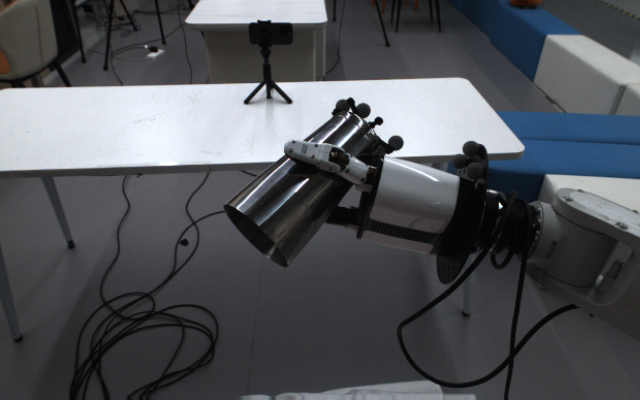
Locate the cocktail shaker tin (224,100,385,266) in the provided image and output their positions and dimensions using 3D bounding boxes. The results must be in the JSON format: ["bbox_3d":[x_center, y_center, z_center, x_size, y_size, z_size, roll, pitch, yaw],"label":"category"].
[{"bbox_3d":[-0.012,-0.021,0.531,0.093,0.093,0.170,31,66,35],"label":"cocktail shaker tin"}]
